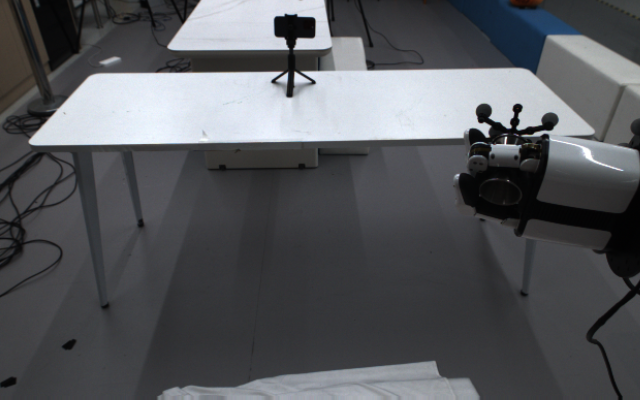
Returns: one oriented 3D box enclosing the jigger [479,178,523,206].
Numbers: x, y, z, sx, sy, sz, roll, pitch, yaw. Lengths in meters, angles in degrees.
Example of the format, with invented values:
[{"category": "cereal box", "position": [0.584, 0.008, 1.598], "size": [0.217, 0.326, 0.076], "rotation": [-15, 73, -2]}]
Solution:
[{"category": "jigger", "position": [0.203, -0.034, 0.524], "size": [0.043, 0.043, 0.071], "rotation": [13, 58, 15]}]
